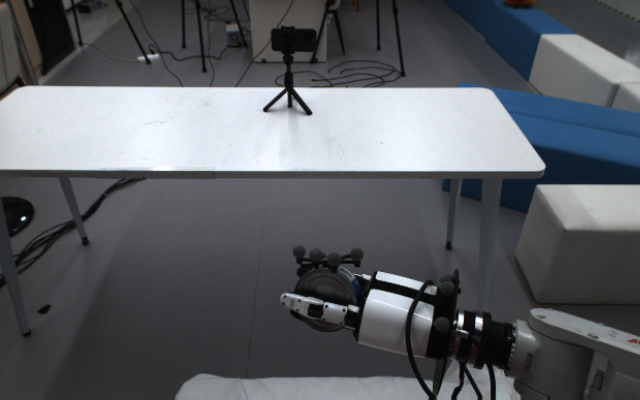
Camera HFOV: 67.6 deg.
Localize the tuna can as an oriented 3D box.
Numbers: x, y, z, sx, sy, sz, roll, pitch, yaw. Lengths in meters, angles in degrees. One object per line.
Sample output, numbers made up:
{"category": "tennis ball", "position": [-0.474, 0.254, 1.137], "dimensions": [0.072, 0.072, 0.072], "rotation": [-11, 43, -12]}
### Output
{"category": "tuna can", "position": [0.013, 0.127, 0.638], "dimensions": [0.085, 0.085, 0.034], "rotation": [15, 10, 18]}
